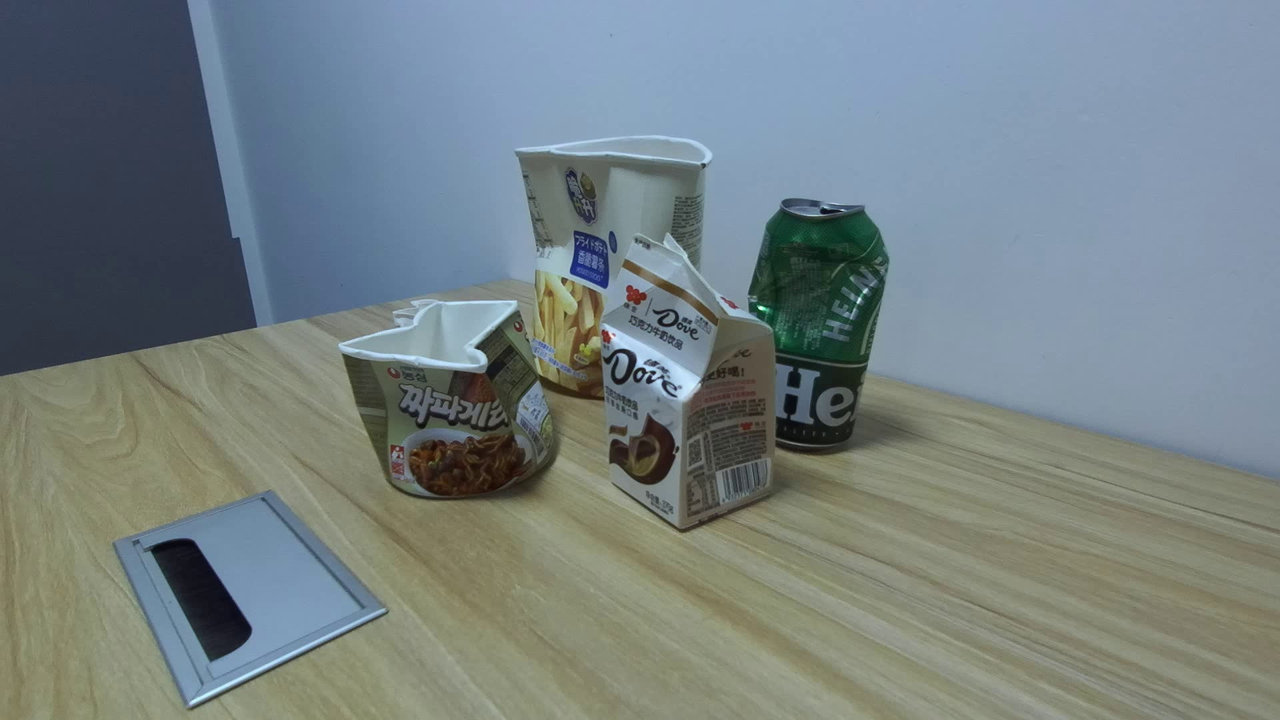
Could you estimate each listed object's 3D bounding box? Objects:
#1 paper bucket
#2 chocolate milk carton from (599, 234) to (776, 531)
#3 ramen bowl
[{"bbox_3d":[-0.022,-0.082,0.598,0.217,0.199,0.148,8,22,27],"label":"paper bucket"},{"bbox_3d":[0.027,0.006,0.404,0.074,0.155,0.076,-16,26,-31],"label":"chocolate milk carton"},{"bbox_3d":[-0.113,0.020,0.467,0.111,0.093,0.128,5,21,18],"label":"ramen bowl"}]
